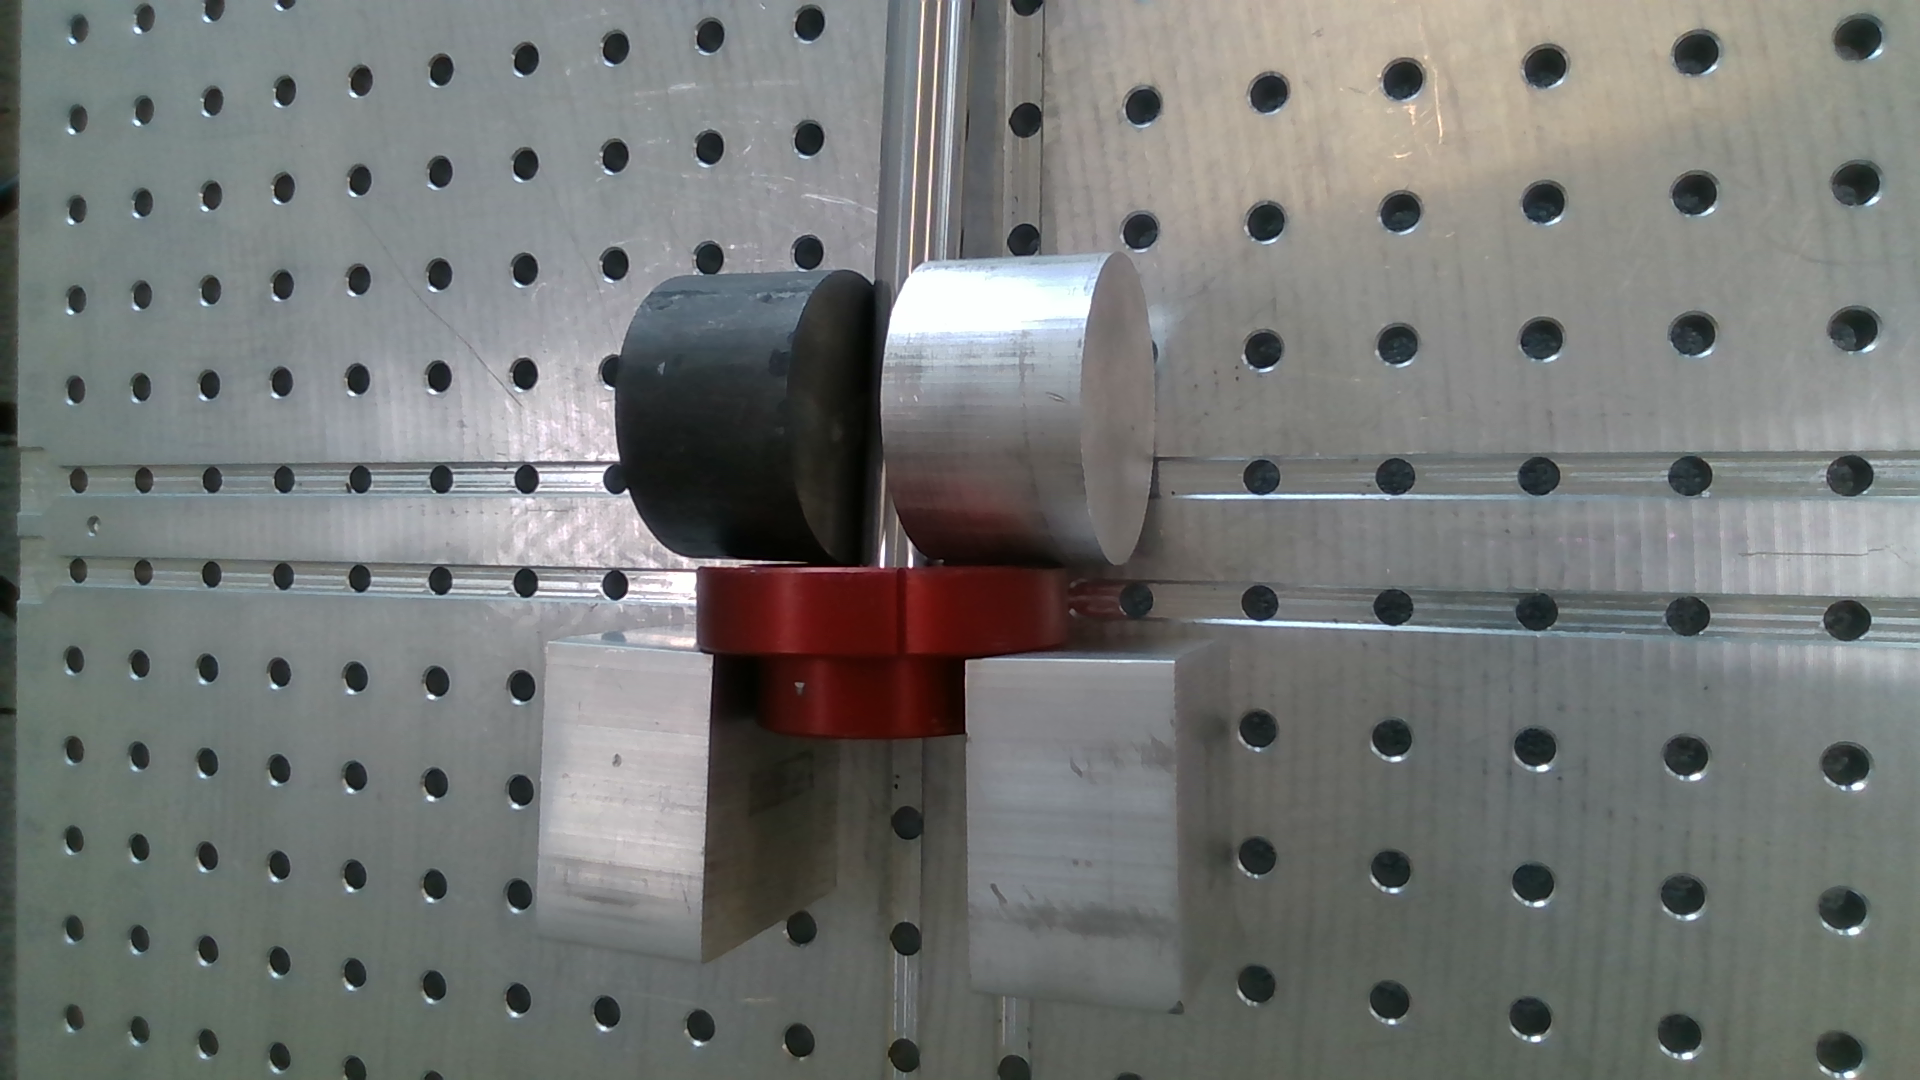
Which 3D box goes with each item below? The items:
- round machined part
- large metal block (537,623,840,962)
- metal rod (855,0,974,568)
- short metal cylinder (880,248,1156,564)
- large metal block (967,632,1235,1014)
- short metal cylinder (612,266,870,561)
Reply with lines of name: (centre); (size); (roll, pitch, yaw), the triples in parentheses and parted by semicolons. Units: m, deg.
round machined part: (-0.021, 0.028, 0.365); (0.098, 0.098, 0.042); (1, 90, 20)
large metal block: (-0.074, 0.066, 0.396); (0.050, 0.080, 0.080); (3, 91, 20)
metal rod: (-0.010, -0.117, 0.387); (0.025, 0.025, 0.300); (2, 87, 20)
short metal cylinder: (0.018, -0.034, 0.360); (0.050, 0.080, 0.080); (1, 90, 21)
large metal block: (0.039, 0.066, 0.354); (0.050, 0.080, 0.080); (0, 90, 20)
short metal cylinder: (-0.053, -0.035, 0.385); (0.050, 0.080, 0.080); (1, 91, 21)
